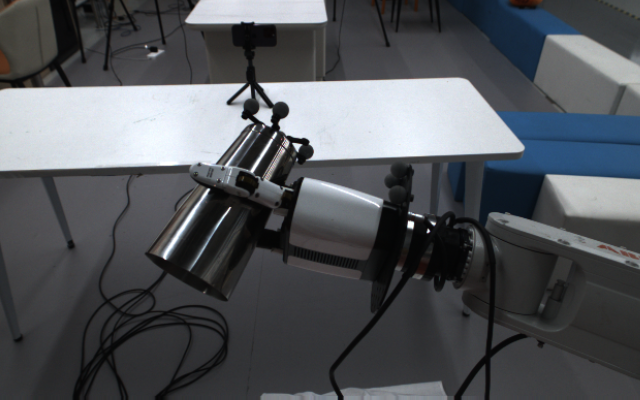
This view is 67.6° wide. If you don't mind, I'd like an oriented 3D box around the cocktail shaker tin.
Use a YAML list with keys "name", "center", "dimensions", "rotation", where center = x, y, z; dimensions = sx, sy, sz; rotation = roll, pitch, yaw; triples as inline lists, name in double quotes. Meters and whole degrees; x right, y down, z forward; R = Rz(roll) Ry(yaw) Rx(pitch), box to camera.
- name: "cocktail shaker tin"
  center: [-0.087, 0.005, 0.497]
  dimensions: [0.093, 0.093, 0.170]
  rotation: [17, 66, 21]
